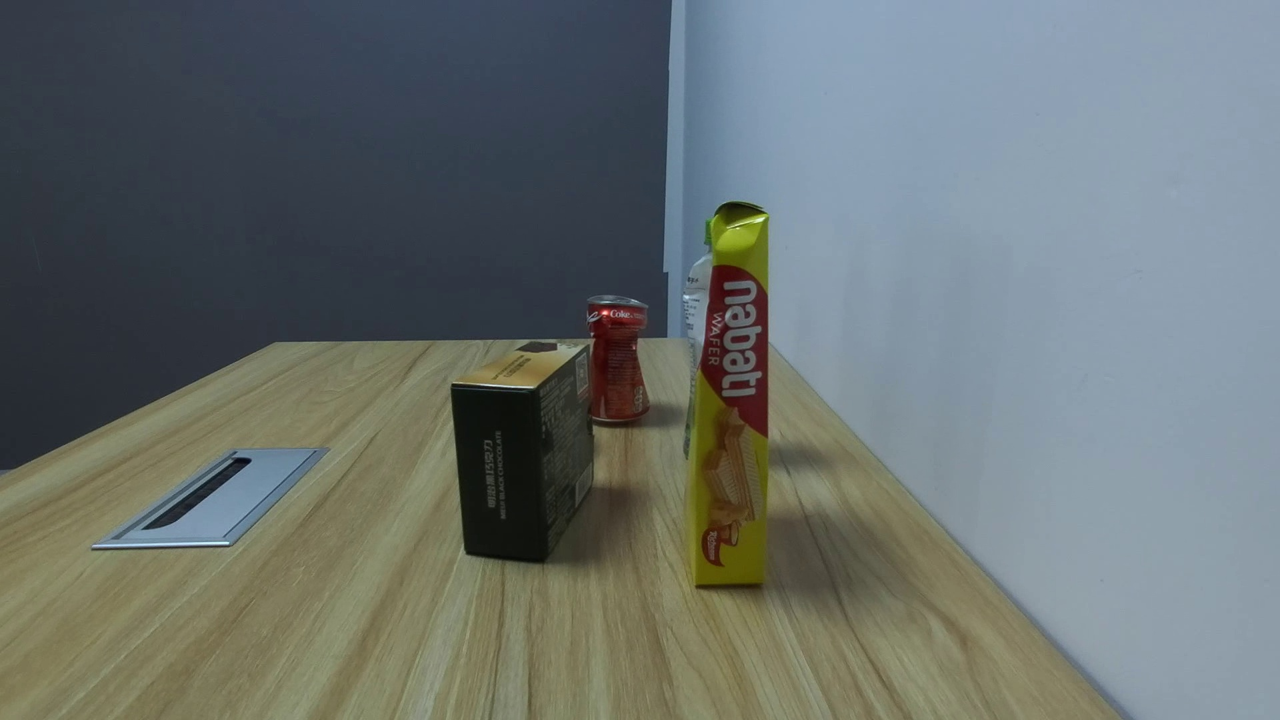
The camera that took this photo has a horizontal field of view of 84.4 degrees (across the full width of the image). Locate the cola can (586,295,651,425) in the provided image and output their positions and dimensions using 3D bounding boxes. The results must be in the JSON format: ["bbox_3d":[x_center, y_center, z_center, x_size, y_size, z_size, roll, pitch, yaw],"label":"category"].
[{"bbox_3d":[-0.024,0.008,0.686,0.065,0.112,0.069,-2,-1,20],"label":"cola can"}]

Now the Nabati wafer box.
[{"bbox_3d":[0.049,0.015,0.401,0.042,0.205,0.113,2,15,0],"label":"Nabati wafer box"}]
